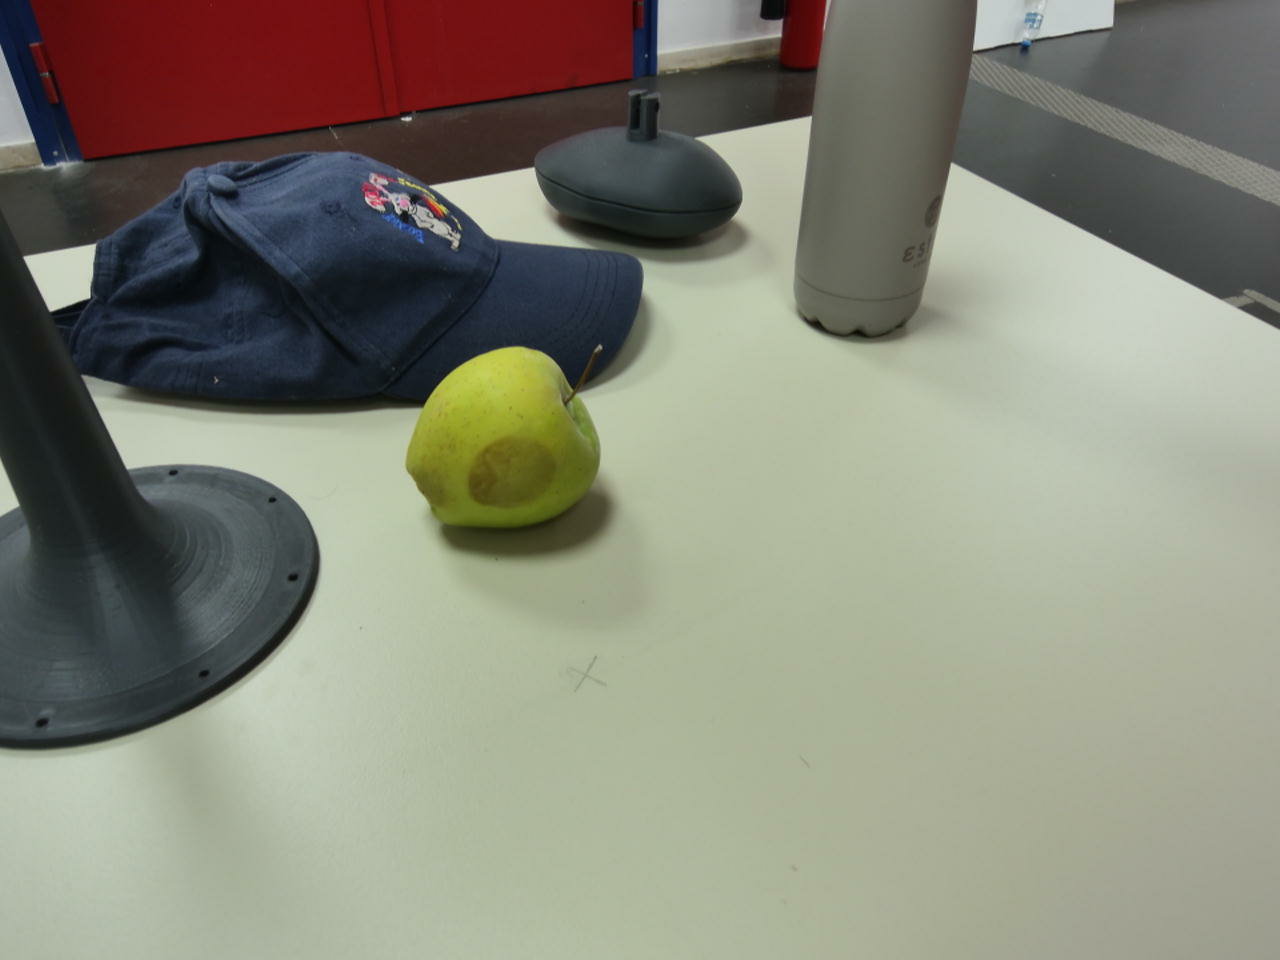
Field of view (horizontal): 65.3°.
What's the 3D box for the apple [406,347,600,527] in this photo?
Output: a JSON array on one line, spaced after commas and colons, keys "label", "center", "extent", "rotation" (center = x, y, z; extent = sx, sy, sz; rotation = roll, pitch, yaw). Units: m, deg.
[{"label": "apple", "center": [-0.055, -0.018, 0.413], "extent": [0.077, 0.075, 0.072], "rotation": [12, 39, 13]}]
